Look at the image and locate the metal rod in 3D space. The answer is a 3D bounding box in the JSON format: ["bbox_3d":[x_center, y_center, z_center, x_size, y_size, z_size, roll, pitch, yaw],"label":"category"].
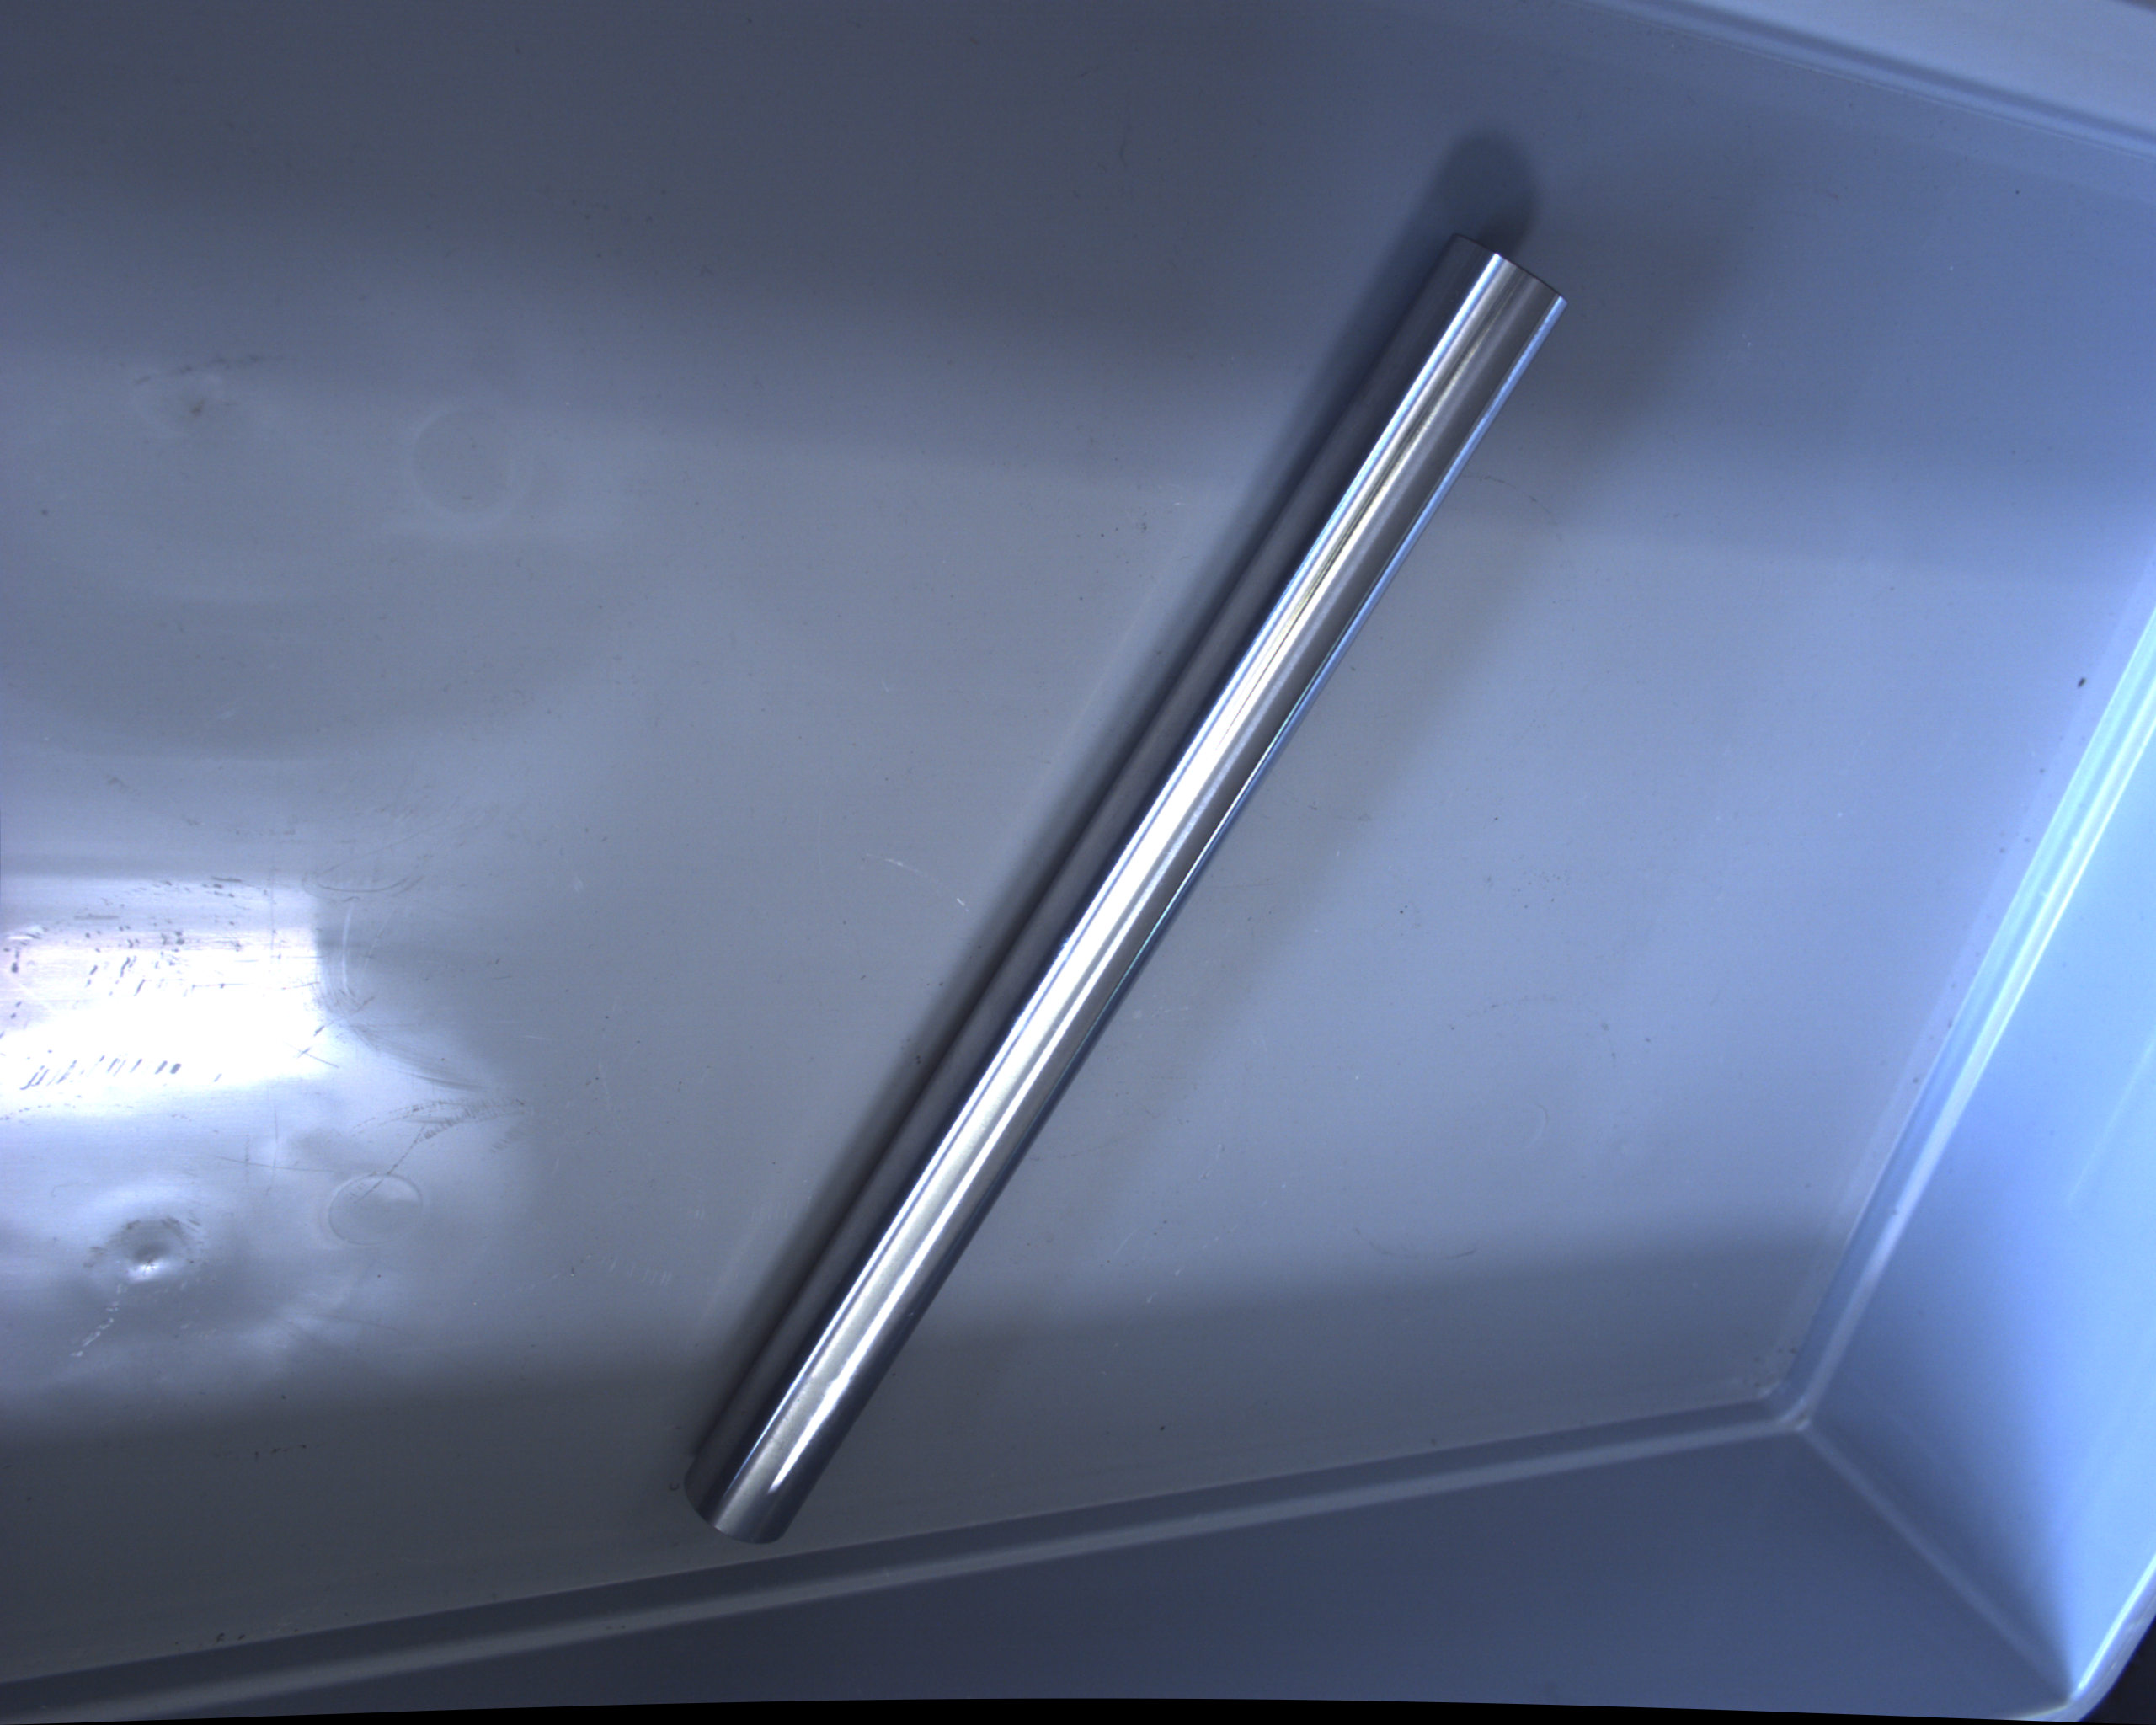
[{"bbox_3d":[0.002,0.015,0.415,0.025,0.025,0.299,22,107,-36],"label":"metal rod"}]
